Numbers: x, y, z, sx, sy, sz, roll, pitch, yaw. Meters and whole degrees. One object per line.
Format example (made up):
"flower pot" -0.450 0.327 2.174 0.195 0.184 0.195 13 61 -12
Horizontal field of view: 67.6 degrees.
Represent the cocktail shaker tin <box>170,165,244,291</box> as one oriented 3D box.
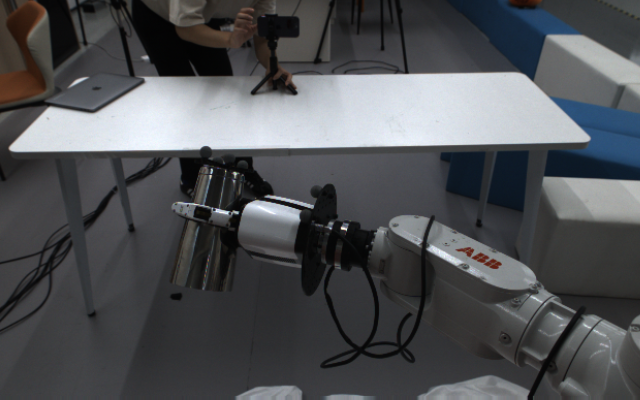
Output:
"cocktail shaker tin" -0.158 0.042 0.708 0.093 0.170 0.093 10 -6 1
